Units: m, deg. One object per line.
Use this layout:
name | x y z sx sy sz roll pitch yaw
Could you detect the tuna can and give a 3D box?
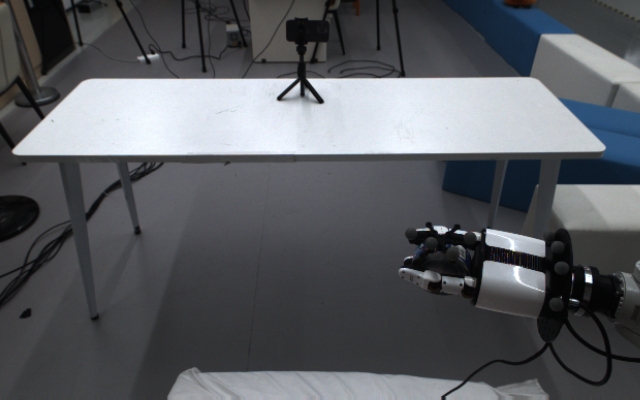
tuna can | 0.179 0.096 0.706 0.085 0.085 0.034 12 39 14
